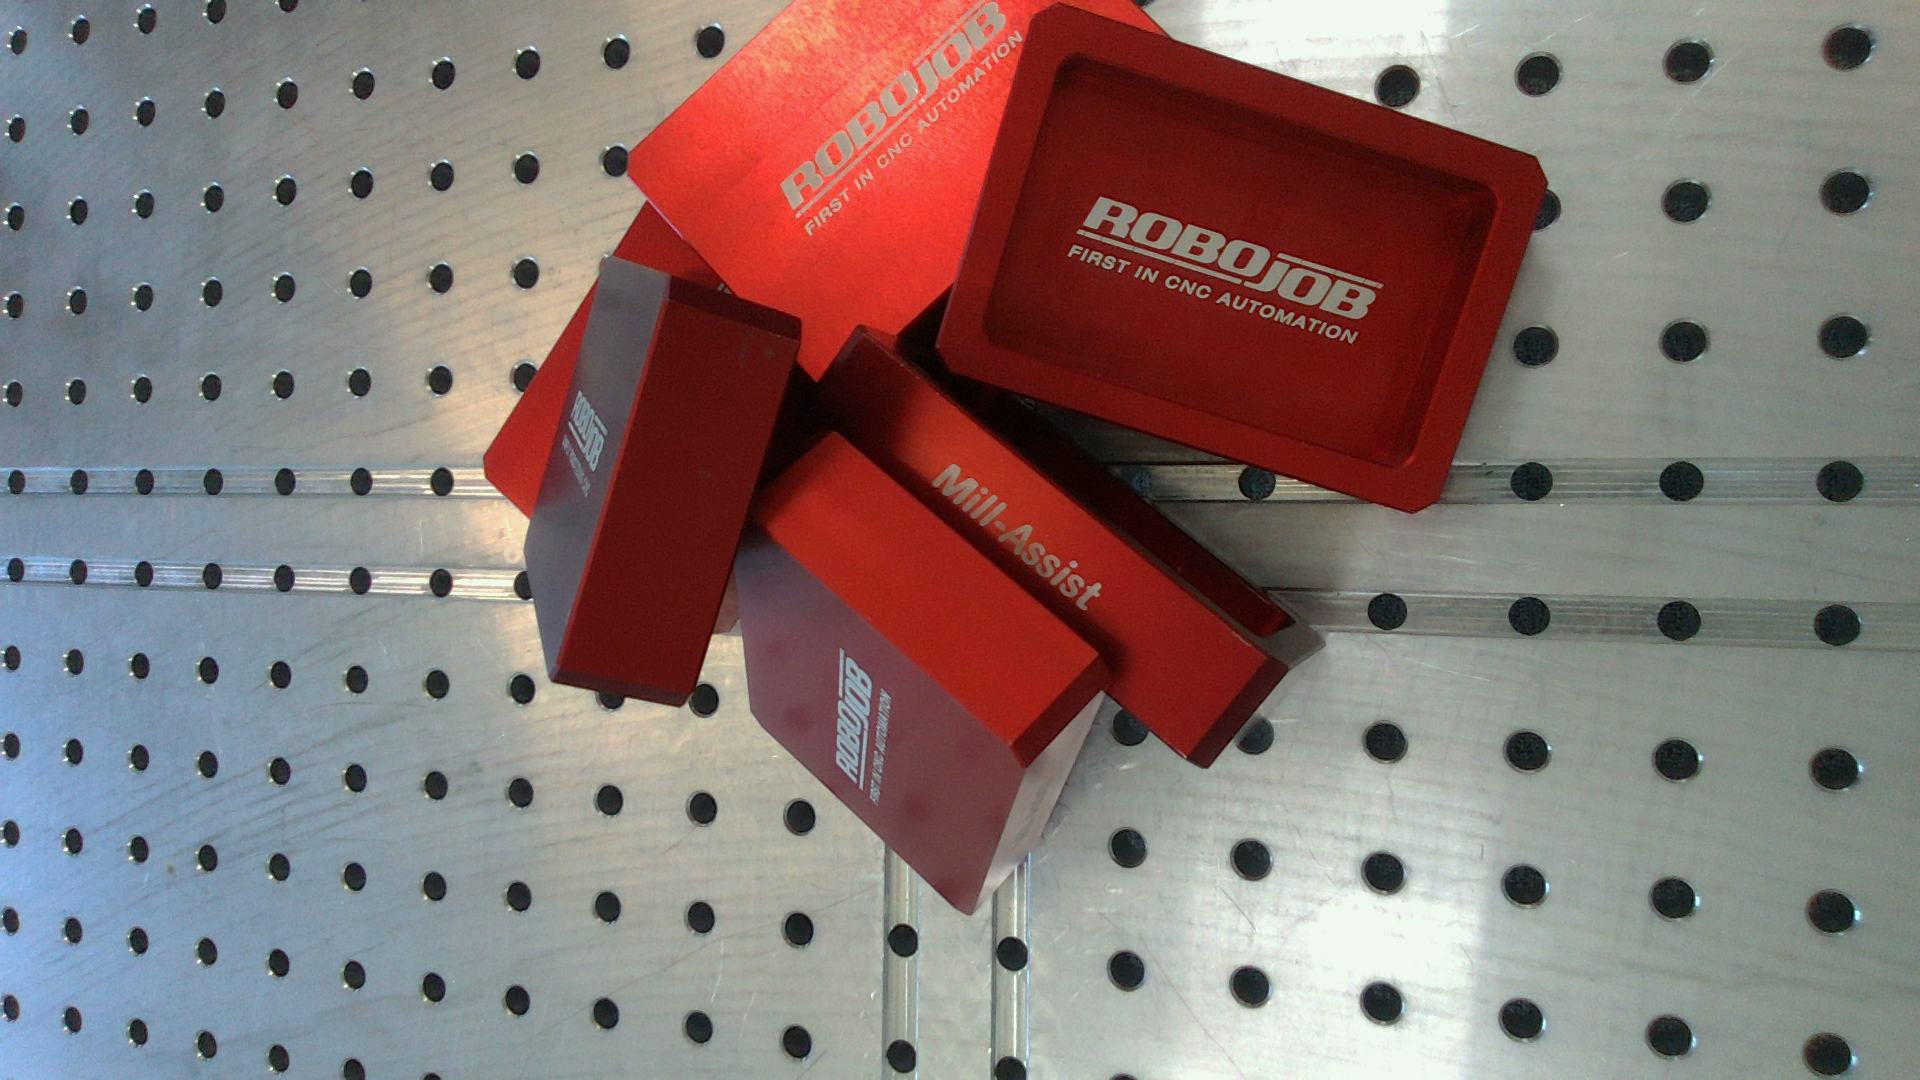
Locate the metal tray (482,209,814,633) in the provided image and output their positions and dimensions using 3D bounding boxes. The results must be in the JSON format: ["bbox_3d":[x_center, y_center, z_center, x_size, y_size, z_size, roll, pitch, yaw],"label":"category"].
[{"bbox_3d":[-0.078,-0.046,0.424,0.090,0.030,0.130,40,103,15],"label":"metal tray"}]

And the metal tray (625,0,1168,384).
[{"bbox_3d":[-0.015,-0.112,0.381,0.130,0.030,0.090,-42,80,0],"label":"metal tray"}]

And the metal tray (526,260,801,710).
[{"bbox_3d":[-0.081,-0.022,0.347,0.030,0.130,0.090,15,97,-23],"label":"metal tray"}]

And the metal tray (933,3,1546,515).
[{"bbox_3d":[0.067,-0.068,0.346,0.130,0.030,0.090,17,96,-4],"label":"metal tray"}]

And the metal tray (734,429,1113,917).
[{"bbox_3d":[-0.015,0.040,0.353,0.090,0.130,0.030,40,64,16],"label":"metal tray"}]

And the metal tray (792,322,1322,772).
[{"bbox_3d":[0.029,-0.001,0.352,0.130,0.090,0.030,40,103,15],"label":"metal tray"}]
